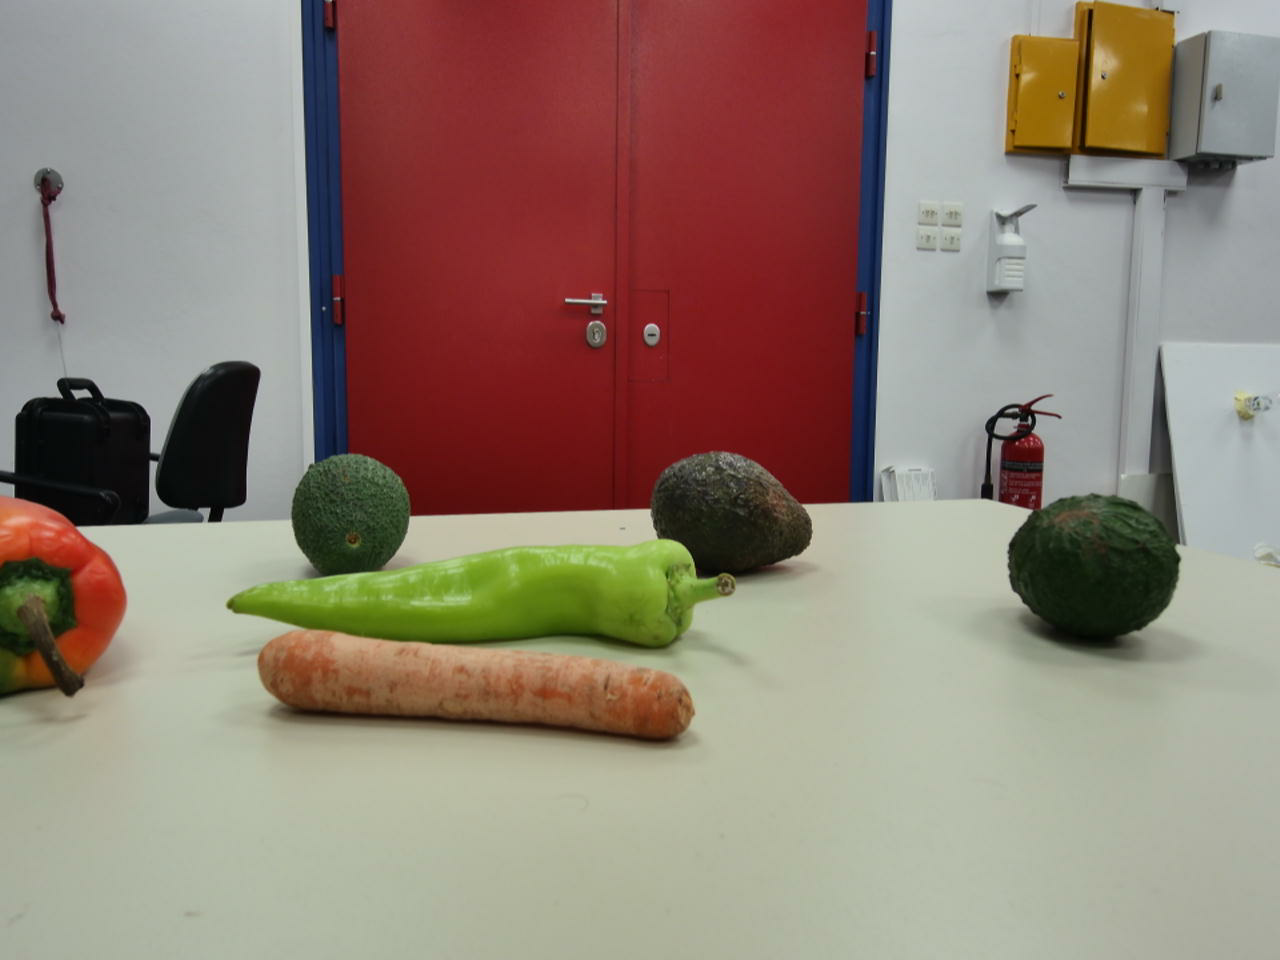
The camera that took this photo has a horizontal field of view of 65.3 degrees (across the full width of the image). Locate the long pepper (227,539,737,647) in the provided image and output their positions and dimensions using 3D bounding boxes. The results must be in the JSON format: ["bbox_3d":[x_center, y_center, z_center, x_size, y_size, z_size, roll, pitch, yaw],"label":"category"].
[{"bbox_3d":[-0.063,0.048,0.428,0.205,0.045,0.065,0,4,3],"label":"long pepper"}]
